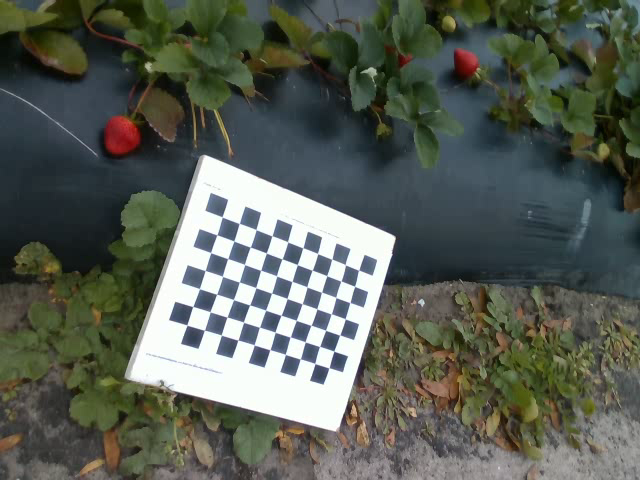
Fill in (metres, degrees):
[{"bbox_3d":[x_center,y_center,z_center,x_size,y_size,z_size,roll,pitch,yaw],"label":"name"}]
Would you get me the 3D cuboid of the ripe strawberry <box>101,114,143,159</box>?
[{"bbox_3d":[-0.143,-0.079,0.507,0.028,0.033,0.022,37,-19,-20],"label":"ripe strawberry"}]
